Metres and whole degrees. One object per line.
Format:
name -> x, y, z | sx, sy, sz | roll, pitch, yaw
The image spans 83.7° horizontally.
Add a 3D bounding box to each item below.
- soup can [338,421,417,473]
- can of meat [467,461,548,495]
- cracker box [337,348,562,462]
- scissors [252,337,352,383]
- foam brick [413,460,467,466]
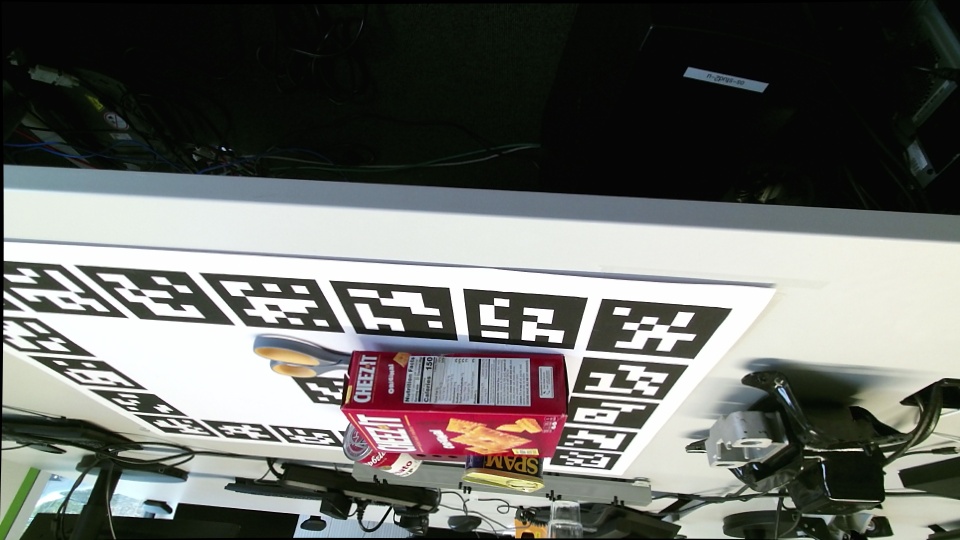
soup can -> -0.139, 0.244, 0.757 | 0.068, 0.067, 0.102 | -22, 140, 33
can of meat -> 0.035, 0.233, 0.685 | 0.102, 0.083, 0.058 | 12, 143, -7
cracker box -> -0.022, 0.152, 0.572 | 0.214, 0.071, 0.164 | -3, 144, 6
scissors -> -0.135, 0.099, 0.571 | 0.203, 0.016, 0.088 | 0, 143, 8
foam brick -> -0.058, 0.232, 0.729 | 0.078, 0.051, 0.053 | -3, 142, 13
